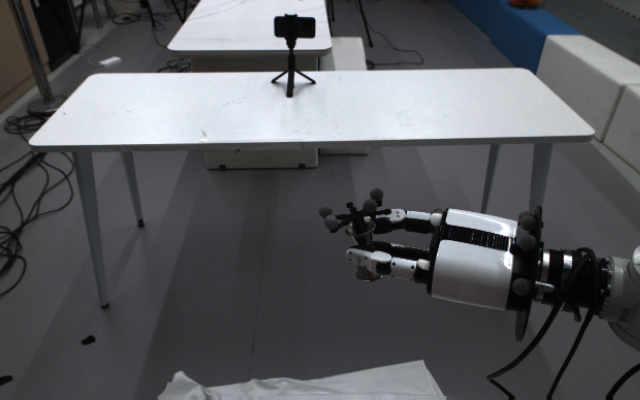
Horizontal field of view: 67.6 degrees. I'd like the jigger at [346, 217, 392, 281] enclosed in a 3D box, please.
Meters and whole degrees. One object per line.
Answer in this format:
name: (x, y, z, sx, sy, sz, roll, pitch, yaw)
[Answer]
jigger: (0.061, 0.065, 0.625, 0.043, 0.071, 0.043, -14, 21, 6)
